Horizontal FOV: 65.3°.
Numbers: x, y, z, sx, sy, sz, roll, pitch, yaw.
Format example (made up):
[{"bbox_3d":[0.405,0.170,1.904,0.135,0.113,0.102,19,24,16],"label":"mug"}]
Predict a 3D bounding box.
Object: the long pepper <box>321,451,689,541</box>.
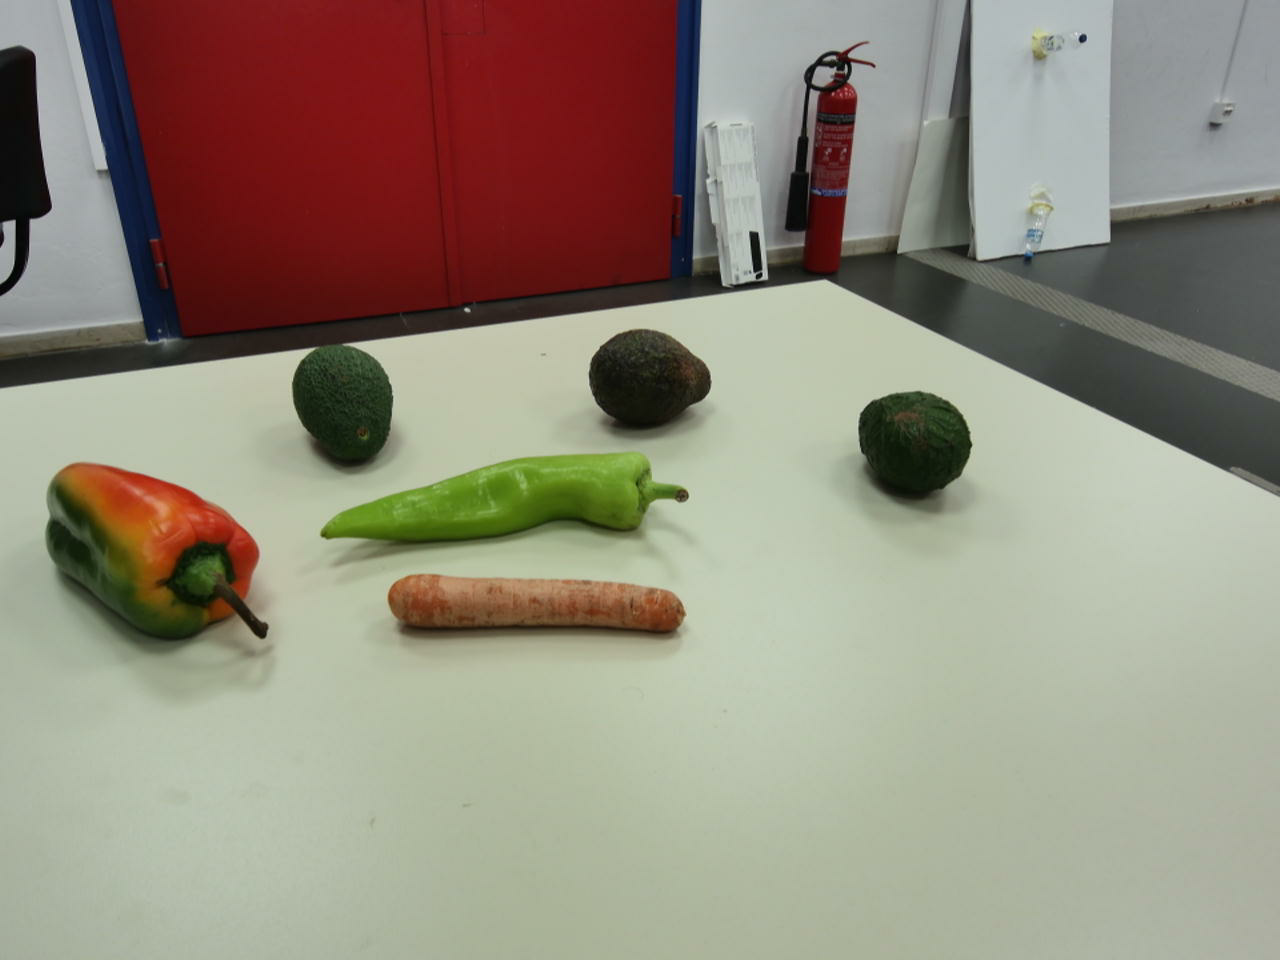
[{"bbox_3d":[-0.076,0.011,0.581,0.204,0.045,0.065,-4,27,-8],"label":"long pepper"}]
